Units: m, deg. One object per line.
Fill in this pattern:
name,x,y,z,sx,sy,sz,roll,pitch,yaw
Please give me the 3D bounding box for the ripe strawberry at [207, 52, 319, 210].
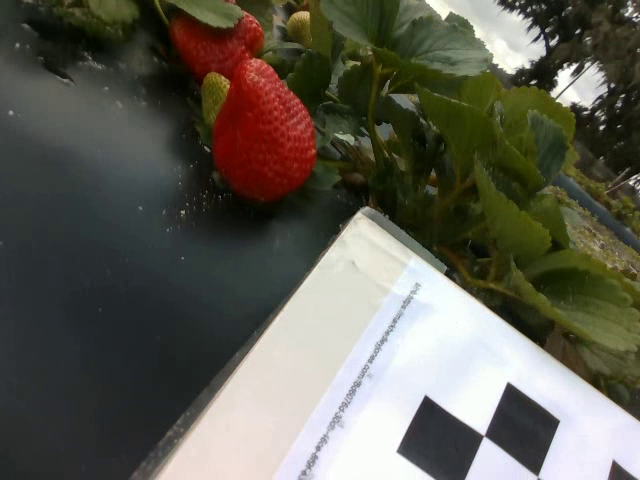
ripe strawberry,-0.024,-0.051,0.261,0.057,0.056,0.065,-5,-22,-1
